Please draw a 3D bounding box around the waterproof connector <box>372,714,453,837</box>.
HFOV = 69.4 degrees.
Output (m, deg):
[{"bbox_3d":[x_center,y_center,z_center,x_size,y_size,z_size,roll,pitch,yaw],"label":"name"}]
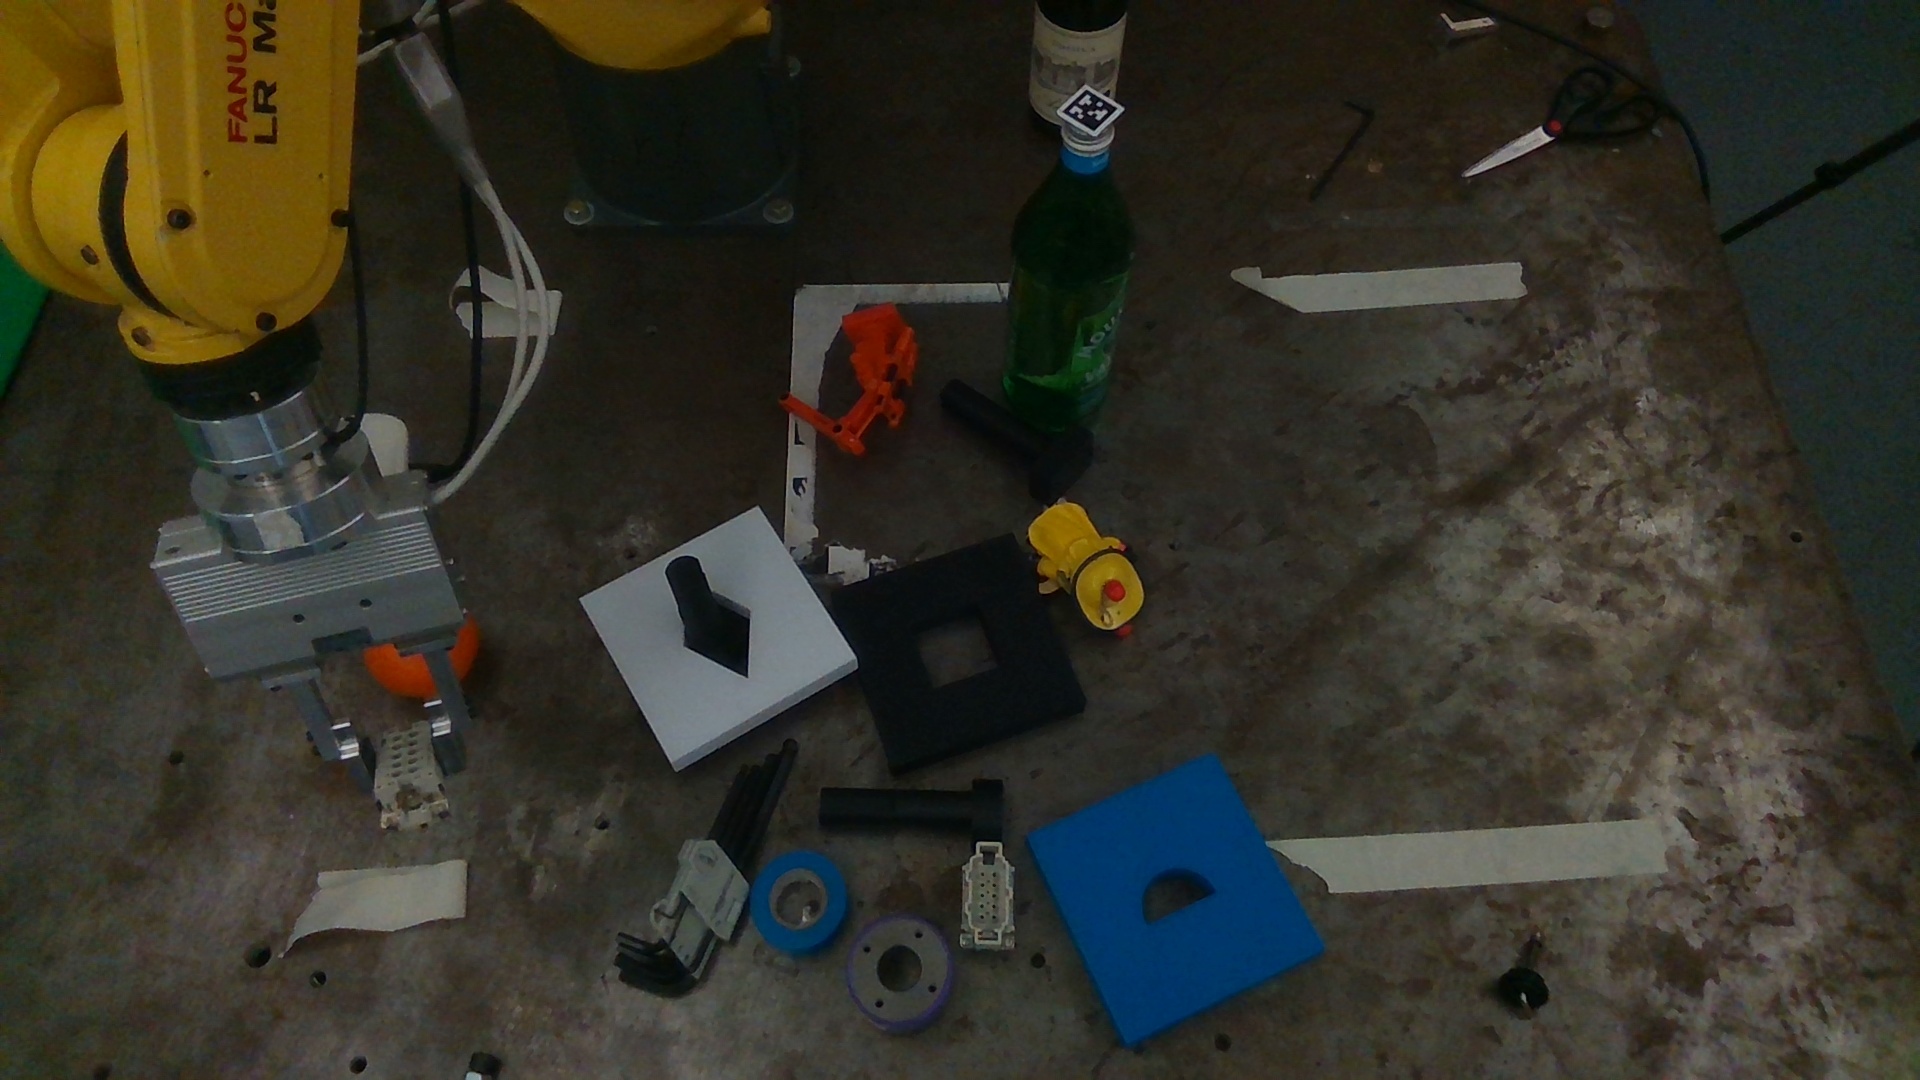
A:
[{"bbox_3d":[-0.293,0.126,0.748,0.036,0.038,0.069,-14,40,-9],"label":"waterproof connector"}]
